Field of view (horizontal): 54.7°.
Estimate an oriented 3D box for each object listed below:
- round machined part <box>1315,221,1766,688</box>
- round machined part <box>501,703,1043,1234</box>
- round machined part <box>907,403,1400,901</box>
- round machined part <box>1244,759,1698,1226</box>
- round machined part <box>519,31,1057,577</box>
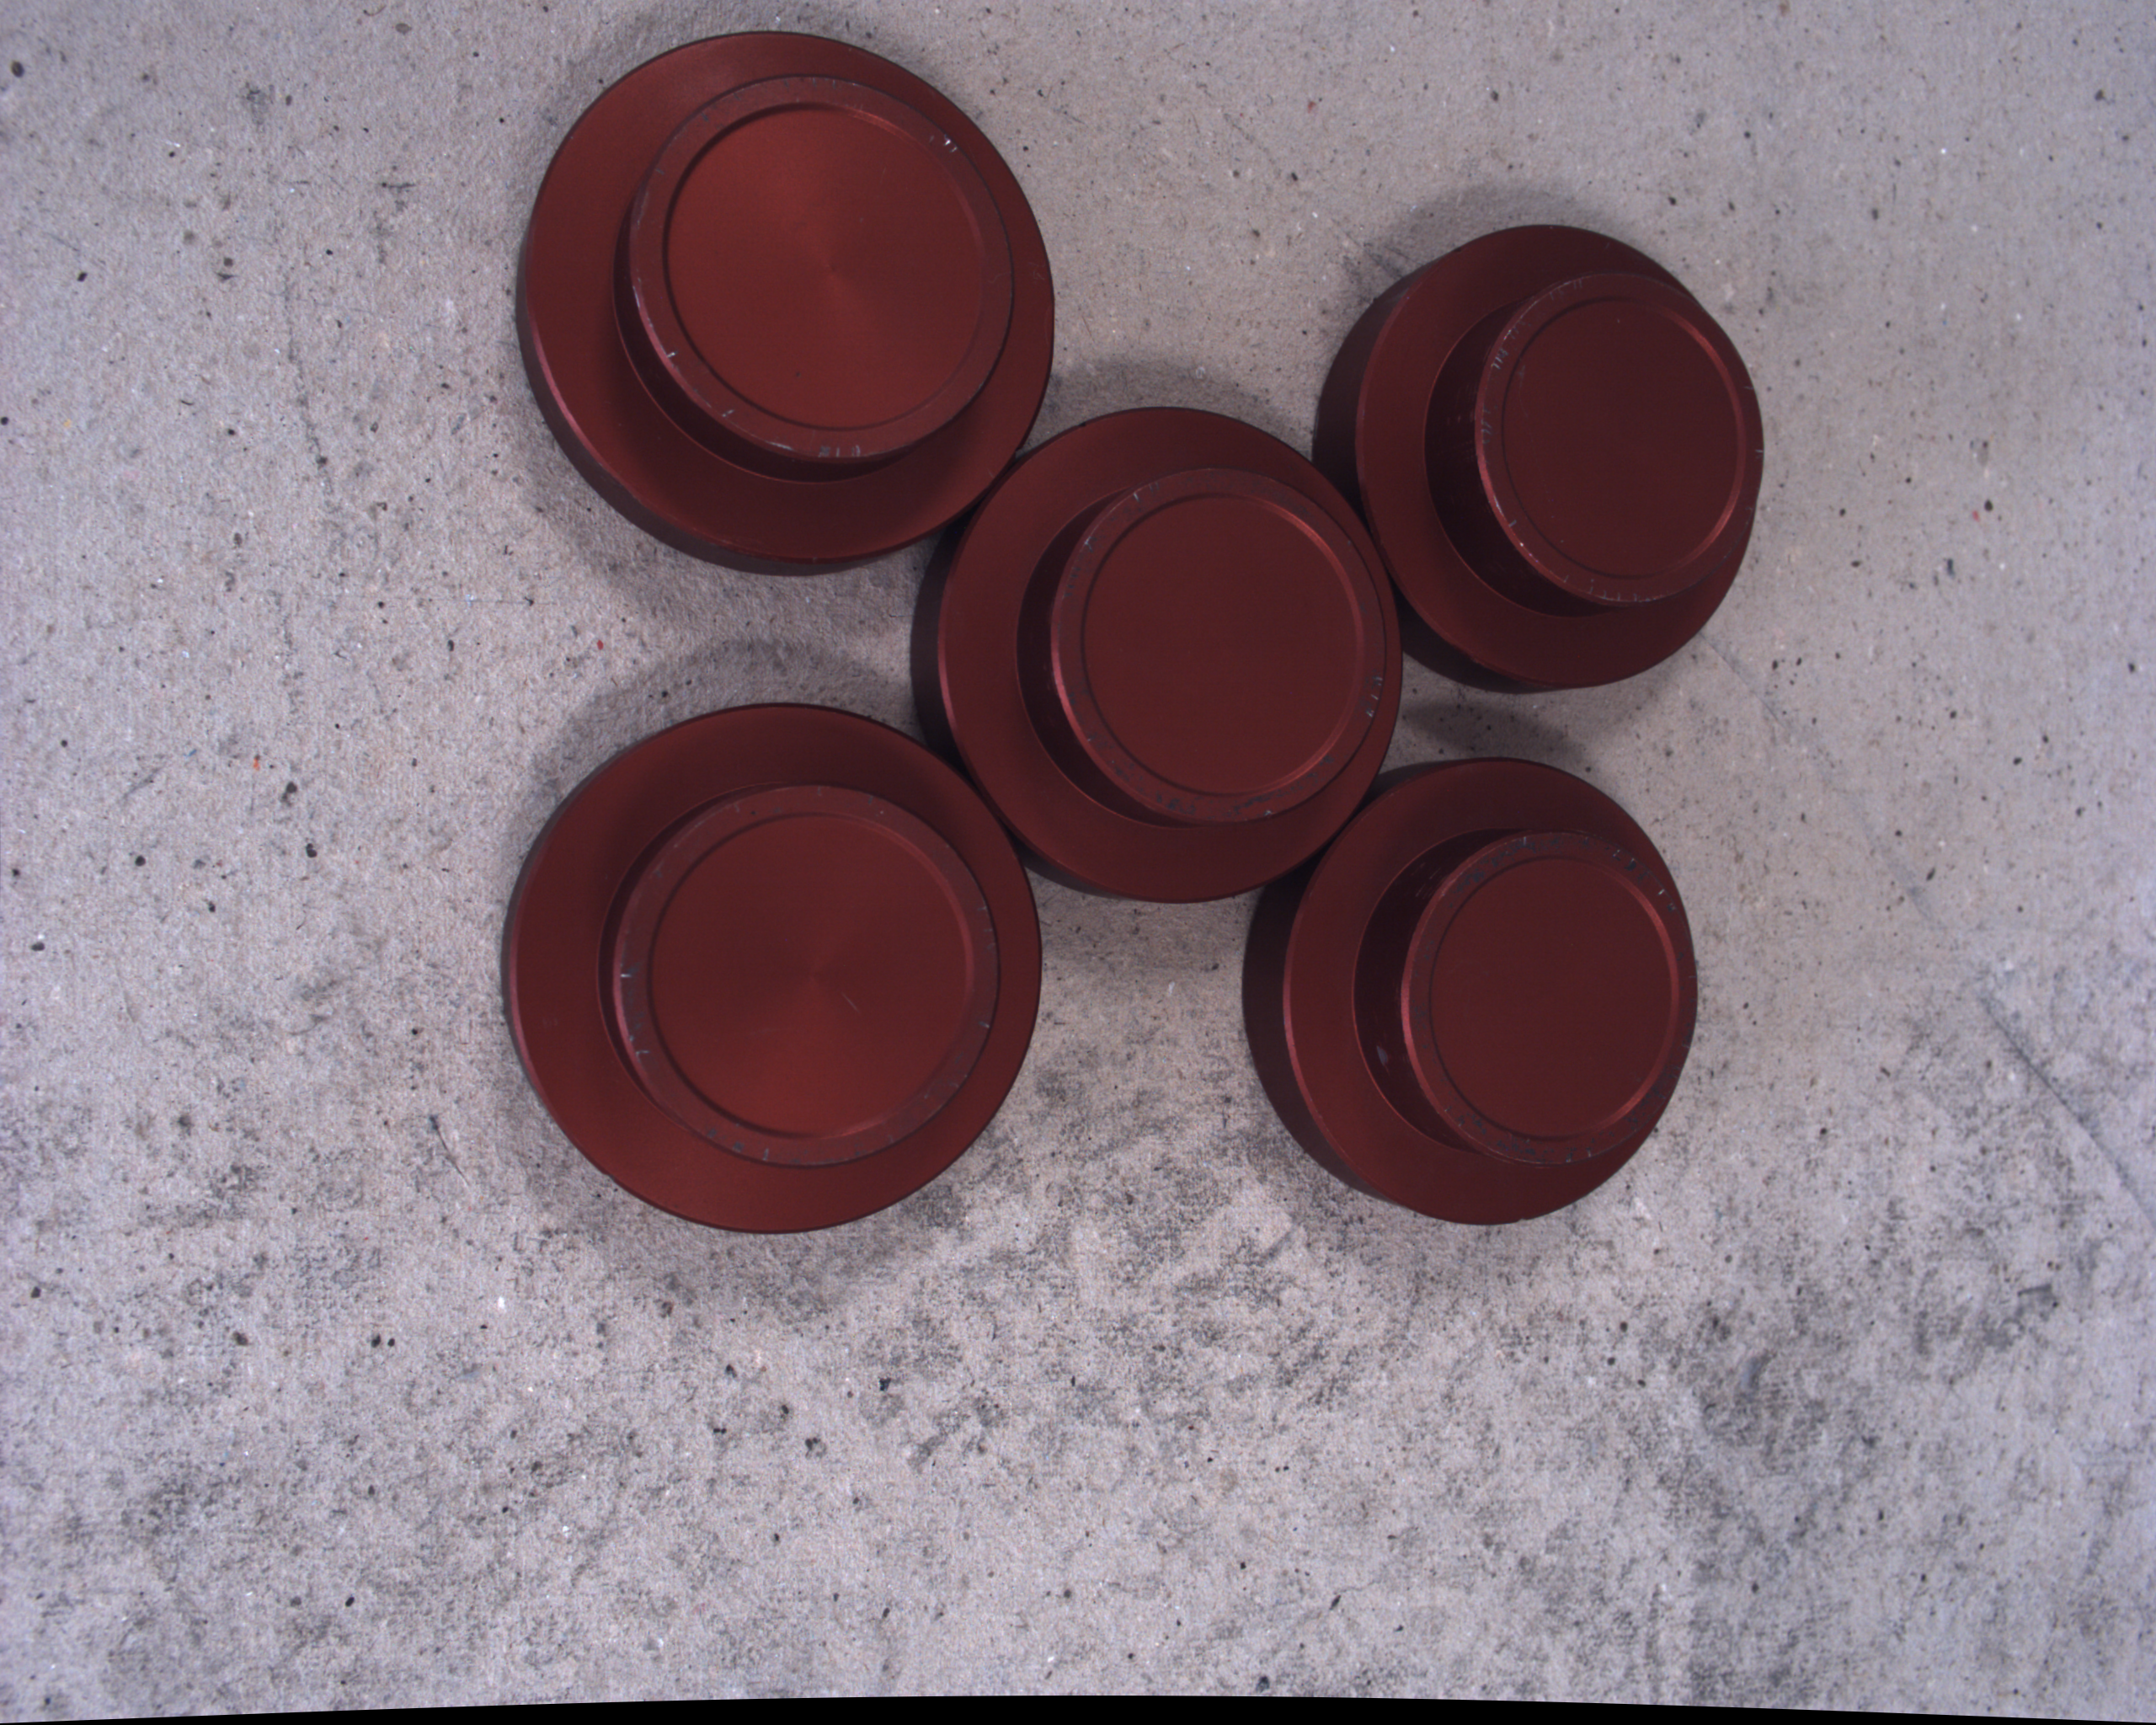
[{"bbox_3d":[0.103,-0.086,0.438,0.099,0.042,0.097,-1,92,-19],"label":"round machined part"},{"bbox_3d":[-0.053,0.019,0.381,0.099,0.042,0.097,0,91,-20],"label":"round machined part"},{"bbox_3d":[0.019,-0.041,0.408,0.099,0.042,0.097,-1,92,-19],"label":"round machined part"},{"bbox_3d":[0.088,0.027,0.433,0.099,0.042,0.097,-1,92,-19],"label":"round machined part"},{"bbox_3d":[-0.050,-0.104,0.382,0.099,0.042,0.097,0,90,-20],"label":"round machined part"}]
